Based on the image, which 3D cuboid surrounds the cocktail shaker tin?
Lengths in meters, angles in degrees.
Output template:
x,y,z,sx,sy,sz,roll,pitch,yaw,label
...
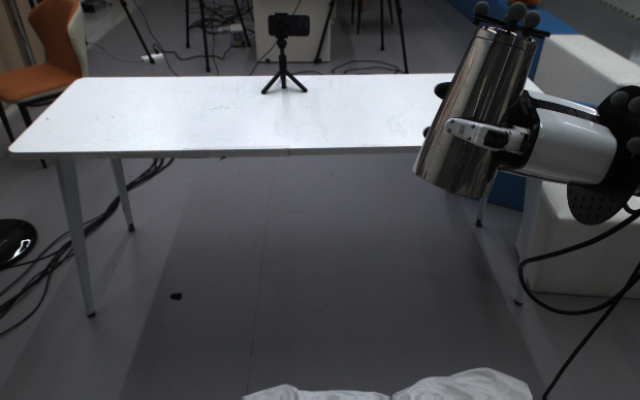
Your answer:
x,y,z,sx,sy,sz,roll,pitch,yaw,label
0.178,-0.099,0.543,0.093,0.170,0.093,15,19,-5,cocktail shaker tin
